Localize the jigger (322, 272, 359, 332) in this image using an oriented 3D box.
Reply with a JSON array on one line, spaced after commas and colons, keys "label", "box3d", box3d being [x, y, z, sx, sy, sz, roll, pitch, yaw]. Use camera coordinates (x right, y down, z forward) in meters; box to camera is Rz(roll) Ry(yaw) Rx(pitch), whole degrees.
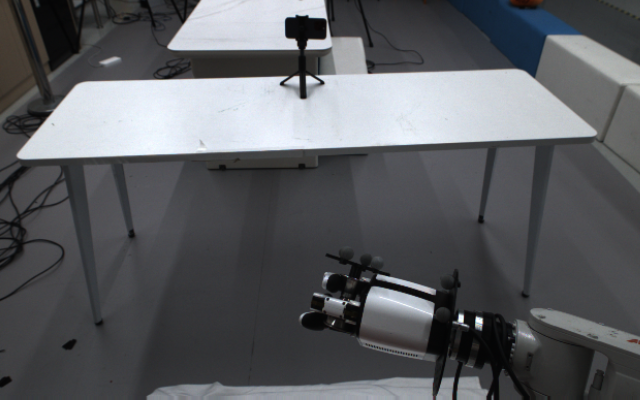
[{"label": "jigger", "box3d": [0.036, 0.134, 0.636, 0.043, 0.071, 0.043, 19, -6, 2]}]
